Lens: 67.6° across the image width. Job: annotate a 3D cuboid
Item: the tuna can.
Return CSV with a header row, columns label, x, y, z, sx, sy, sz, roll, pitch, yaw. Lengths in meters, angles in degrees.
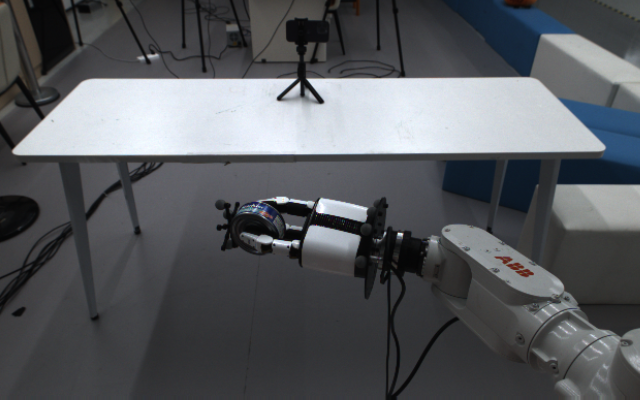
label,x,y,z,sx,sy,sz,roll,pitch,yaw
tuna can,-0.099,0.046,0.779,0.085,0.085,0.034,9,34,10
